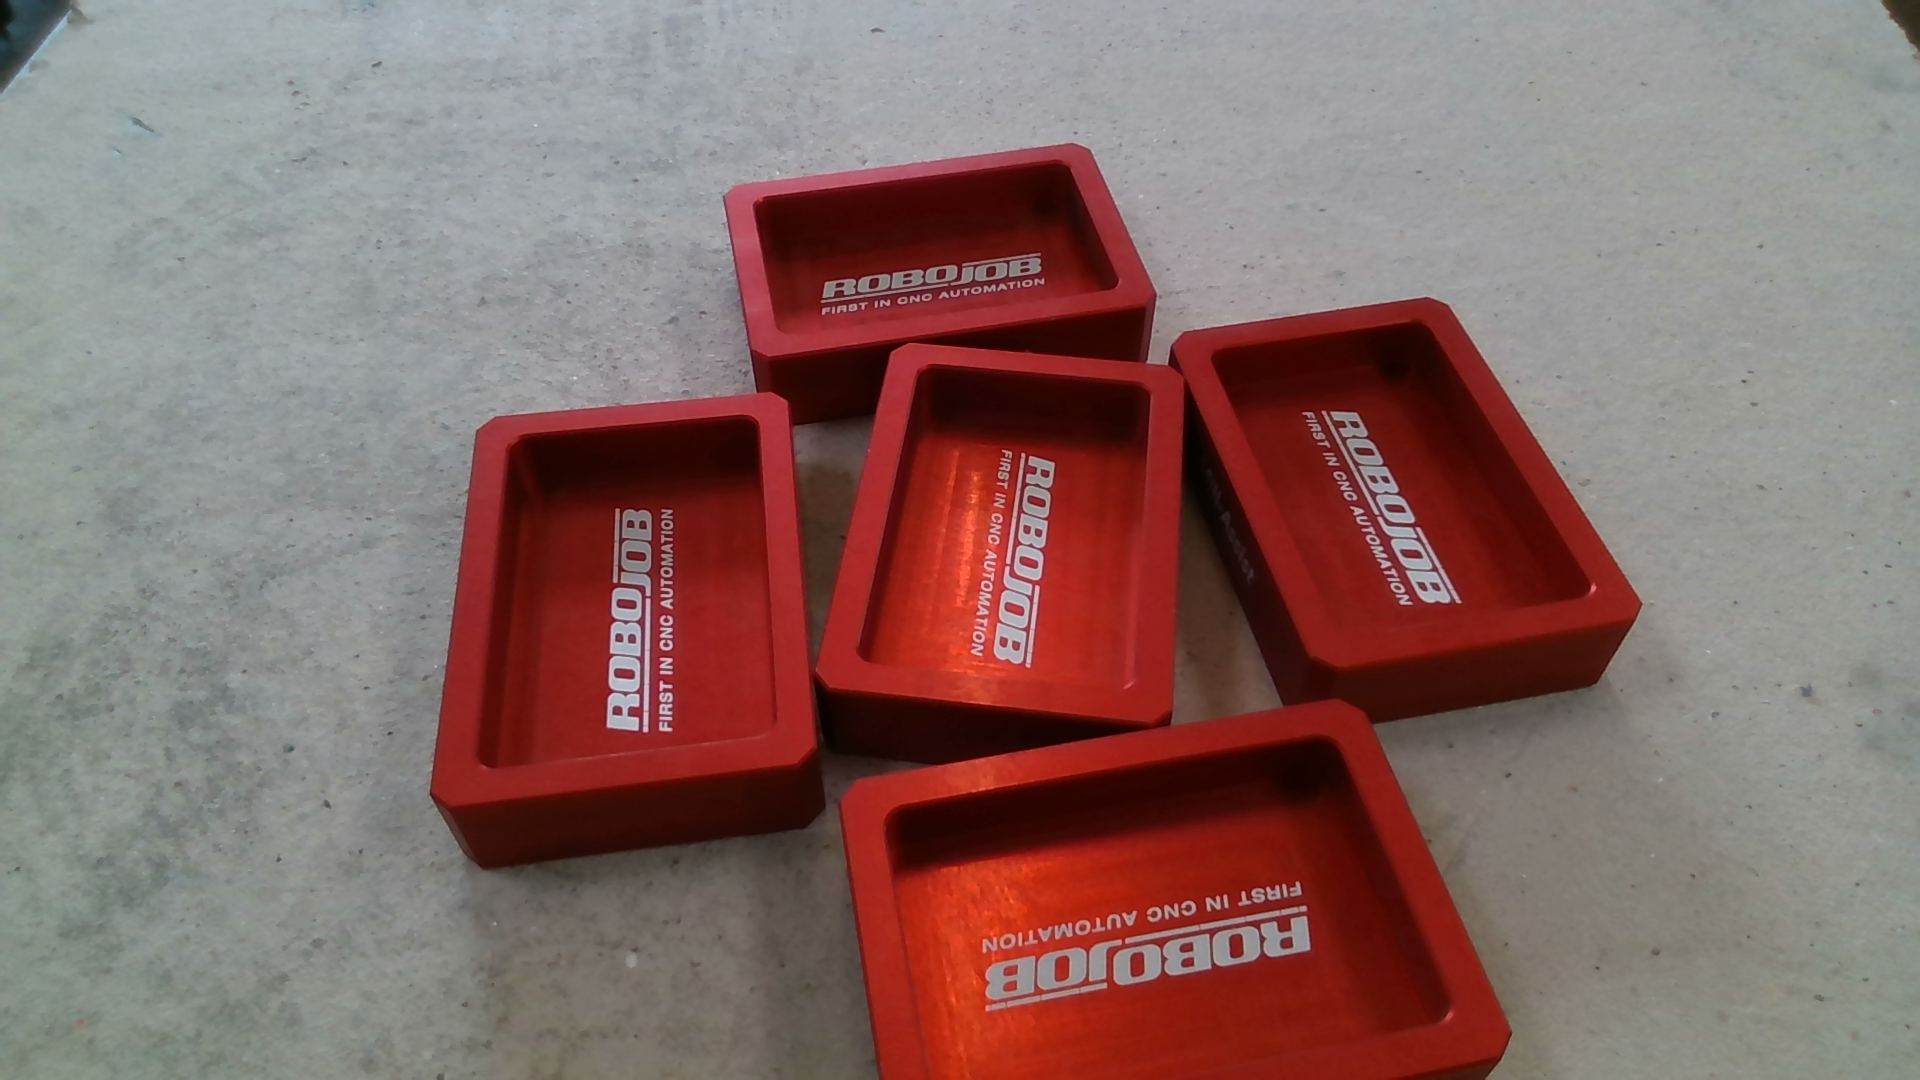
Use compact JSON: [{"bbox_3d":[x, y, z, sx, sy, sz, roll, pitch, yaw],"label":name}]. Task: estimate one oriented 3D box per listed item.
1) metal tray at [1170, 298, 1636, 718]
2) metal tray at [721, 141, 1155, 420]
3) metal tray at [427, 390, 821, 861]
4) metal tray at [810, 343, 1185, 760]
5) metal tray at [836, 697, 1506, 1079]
[{"bbox_3d":[0.120,-0.013,0.402,0.090,0.030,0.130,-9,50,-7],"label":"metal tray"},{"bbox_3d":[-0.010,-0.090,0.465,0.130,0.030,0.090,-9,50,-7],"label":"metal tray"},{"bbox_3d":[-0.088,0.017,0.375,0.090,0.030,0.130,-6,50,-5],"label":"metal tray"},{"bbox_3d":[0.015,0.001,0.390,0.090,0.030,0.130,5,50,6],"label":"metal tray"},{"bbox_3d":[0.043,0.090,0.315,0.130,0.030,0.090,-9,50,-7],"label":"metal tray"}]
